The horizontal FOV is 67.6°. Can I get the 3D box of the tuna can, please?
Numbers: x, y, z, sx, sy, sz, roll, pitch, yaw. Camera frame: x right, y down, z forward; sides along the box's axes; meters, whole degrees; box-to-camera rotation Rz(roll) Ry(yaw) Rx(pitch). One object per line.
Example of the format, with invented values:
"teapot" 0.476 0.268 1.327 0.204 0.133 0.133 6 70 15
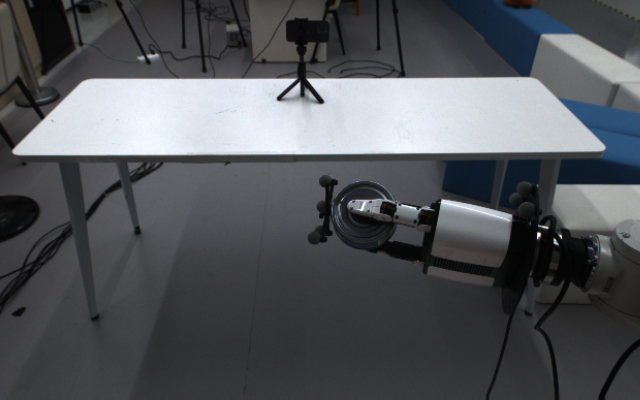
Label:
"tuna can" 0.060 0.022 0.620 0.085 0.034 0.085 -2 68 6
